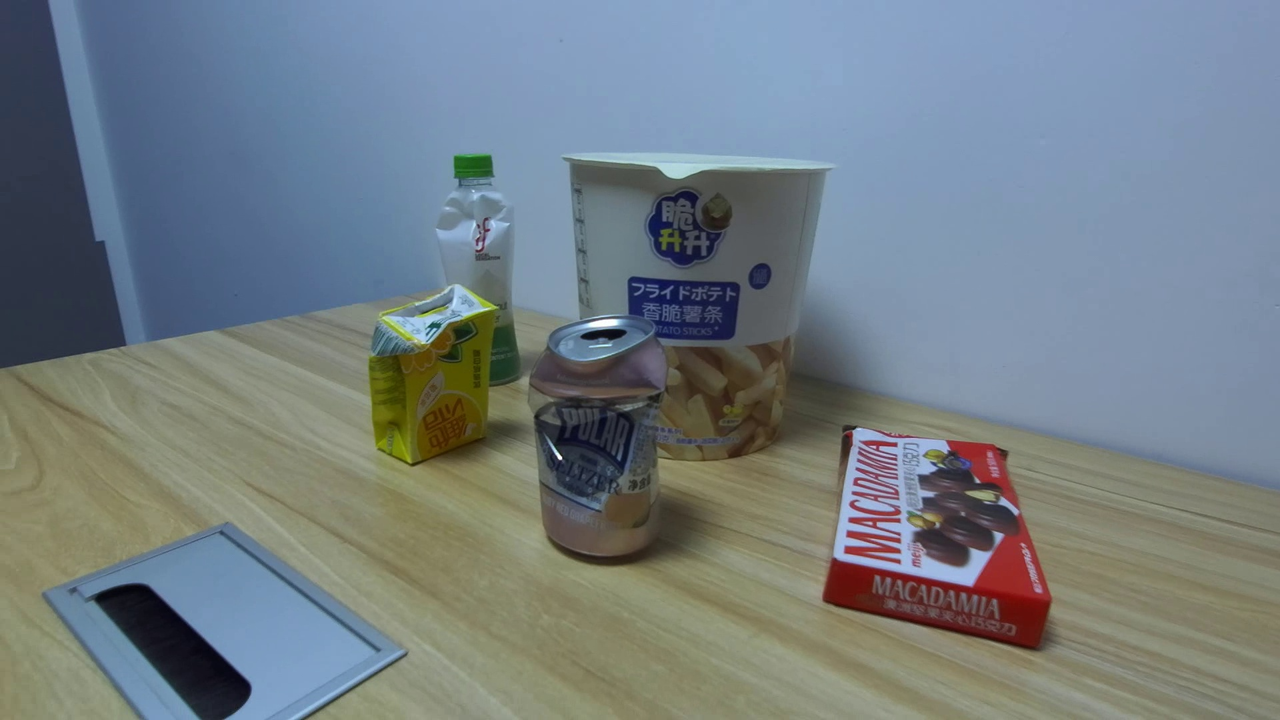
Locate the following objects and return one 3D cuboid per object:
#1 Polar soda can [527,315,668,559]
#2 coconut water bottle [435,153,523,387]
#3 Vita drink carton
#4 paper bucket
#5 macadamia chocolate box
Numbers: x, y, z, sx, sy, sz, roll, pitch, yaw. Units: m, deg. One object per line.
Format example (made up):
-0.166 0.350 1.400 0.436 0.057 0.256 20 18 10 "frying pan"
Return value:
-0.022 0.041 0.365 0.071 0.122 0.066 -1 24 -7 "Polar soda can"
-0.135 -0.074 0.598 0.069 0.186 0.069 3 20 -1 "coconut water bottle"
-0.135 0.012 0.468 0.042 0.108 0.087 30 34 31 "Vita drink carton"
0.038 -0.045 0.512 0.198 0.194 0.198 1 17 0 "paper bucket"
0.162 0.085 0.399 0.105 0.028 0.183 8 18 17 "macadamia chocolate box"
